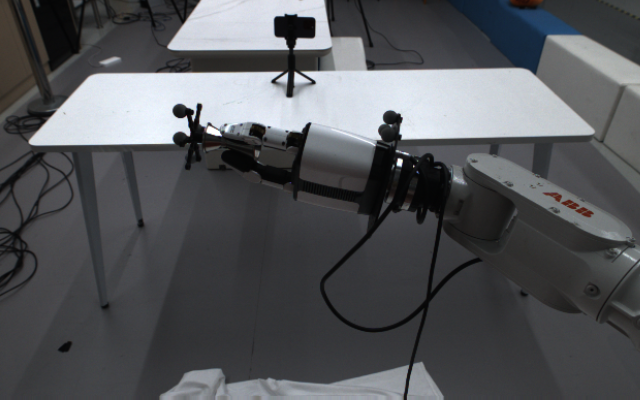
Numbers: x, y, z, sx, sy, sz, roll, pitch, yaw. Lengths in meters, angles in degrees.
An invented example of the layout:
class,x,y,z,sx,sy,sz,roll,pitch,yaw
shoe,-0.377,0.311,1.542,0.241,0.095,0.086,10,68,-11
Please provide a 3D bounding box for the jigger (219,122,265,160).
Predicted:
class,x,y,z,sx,sy,sz,roll,pitch,yaw
jigger,-0.108,-0.080,0.625,0.071,0.043,0.043,6,35,2
